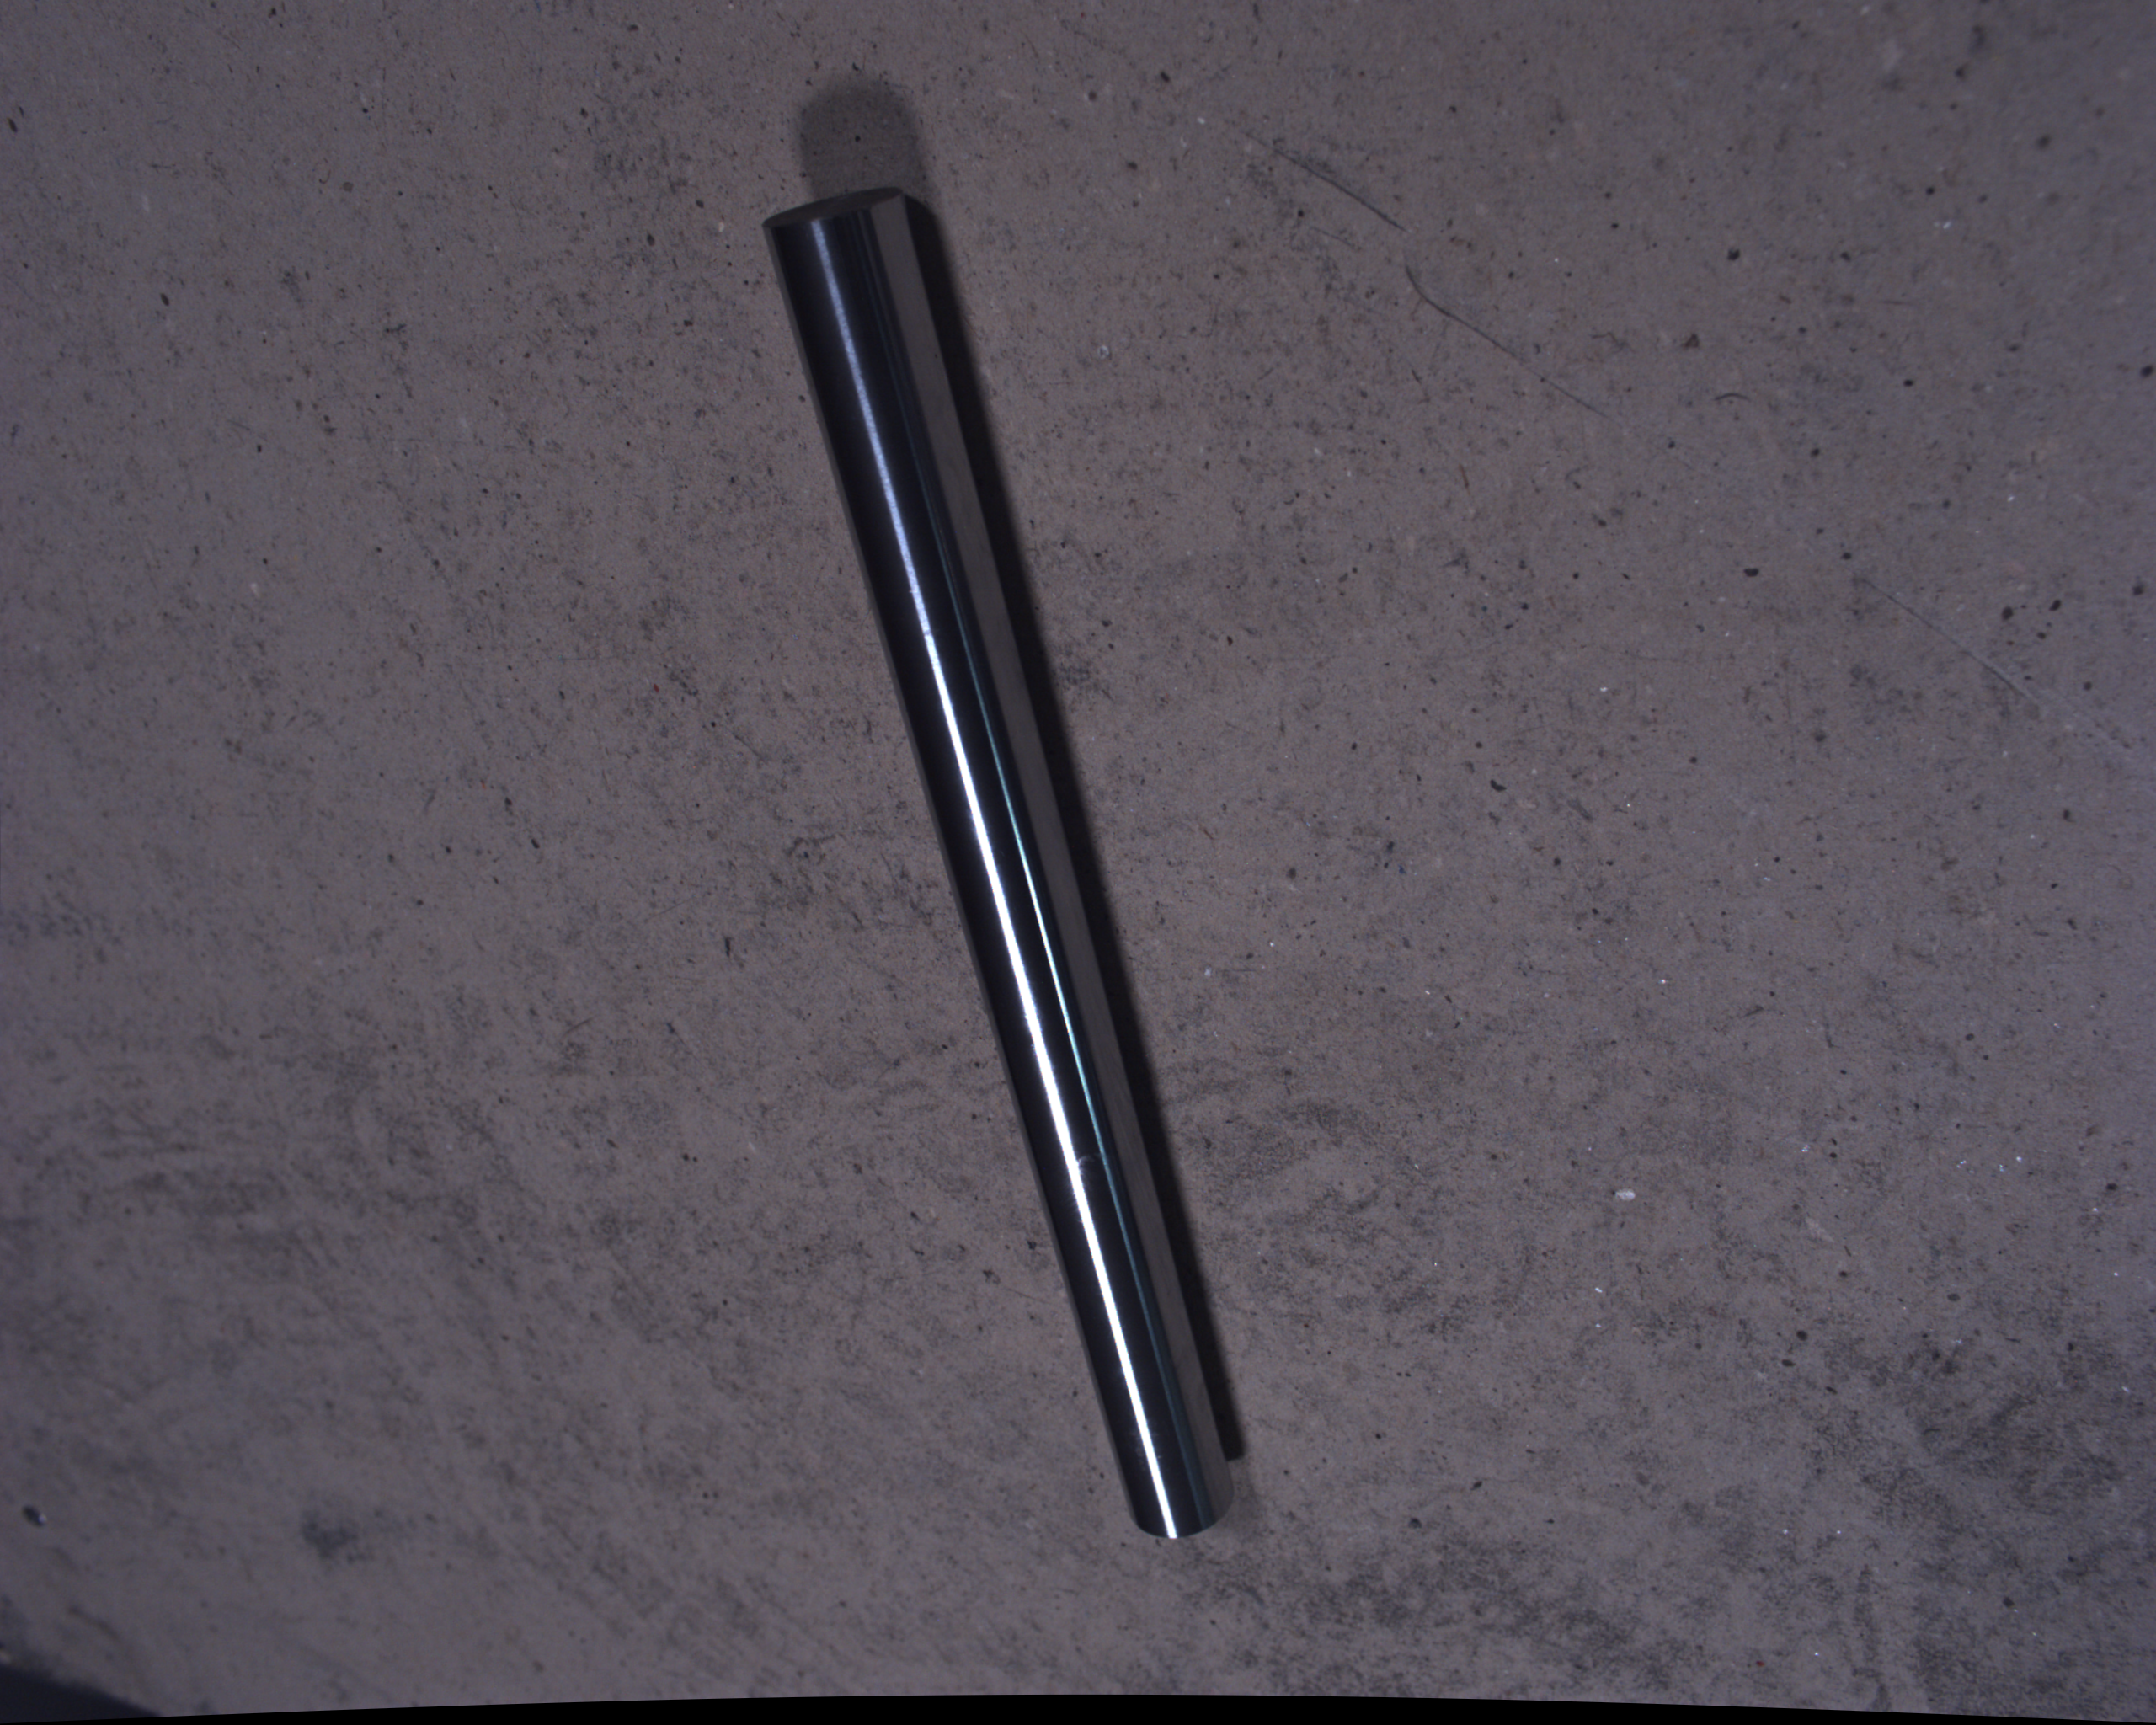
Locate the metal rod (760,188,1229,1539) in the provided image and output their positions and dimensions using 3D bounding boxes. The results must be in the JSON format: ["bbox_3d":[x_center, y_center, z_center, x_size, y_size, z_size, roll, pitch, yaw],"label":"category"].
[{"bbox_3d":[-0.010,0.018,0.423,0.025,0.025,0.298,0,119,28],"label":"metal rod"}]
